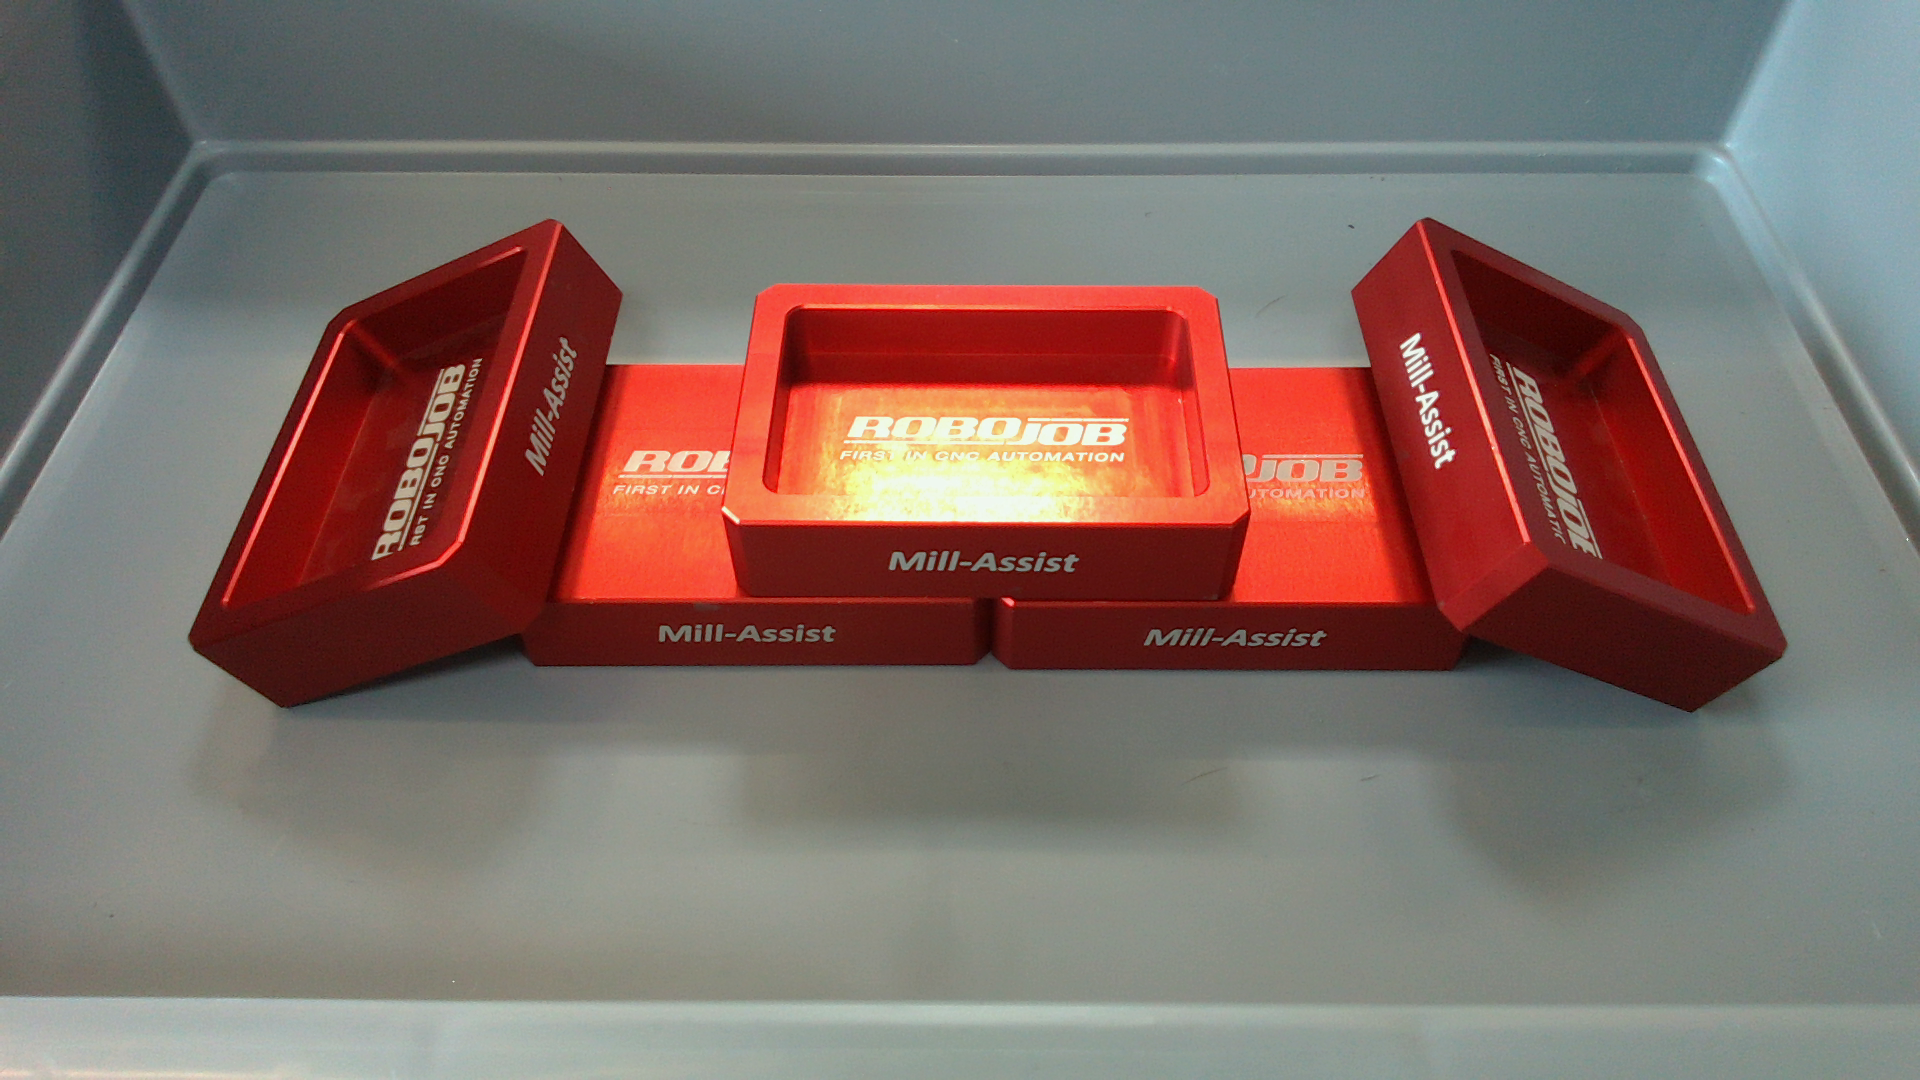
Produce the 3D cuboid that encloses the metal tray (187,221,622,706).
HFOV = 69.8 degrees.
[{"bbox_3d":[-0.150,-0.025,0.384,0.090,0.030,0.130,-17,47,20],"label":"metal tray"}]

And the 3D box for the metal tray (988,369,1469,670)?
[{"bbox_3d":[0.073,-0.008,0.394,0.130,0.030,0.090,0,50,0],"label":"metal tray"}]

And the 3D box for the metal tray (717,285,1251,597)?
[{"bbox_3d":[0.006,-0.029,0.371,0.130,0.030,0.090,0,49,1],"label":"metal tray"}]

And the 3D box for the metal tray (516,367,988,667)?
[{"bbox_3d":[-0.057,-0.009,0.395,0.130,0.030,0.090,0,50,0],"label":"metal tray"}]

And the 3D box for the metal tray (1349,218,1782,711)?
[{"bbox_3d":[0.163,-0.024,0.382,0.090,0.030,0.130,19,46,-21],"label":"metal tray"}]
